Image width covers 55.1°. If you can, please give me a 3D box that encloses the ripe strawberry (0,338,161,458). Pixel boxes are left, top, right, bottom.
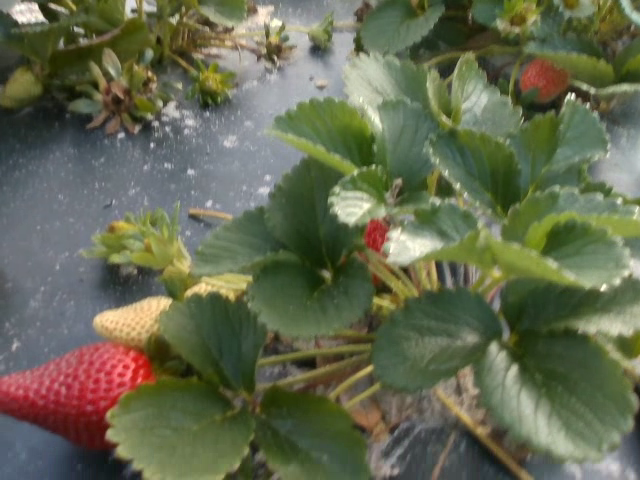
[{"bbox_3d":[-0.095,0.054,0.221,0.055,0.048,0.051,14,-7,-27],"label":"ripe strawberry"}]
